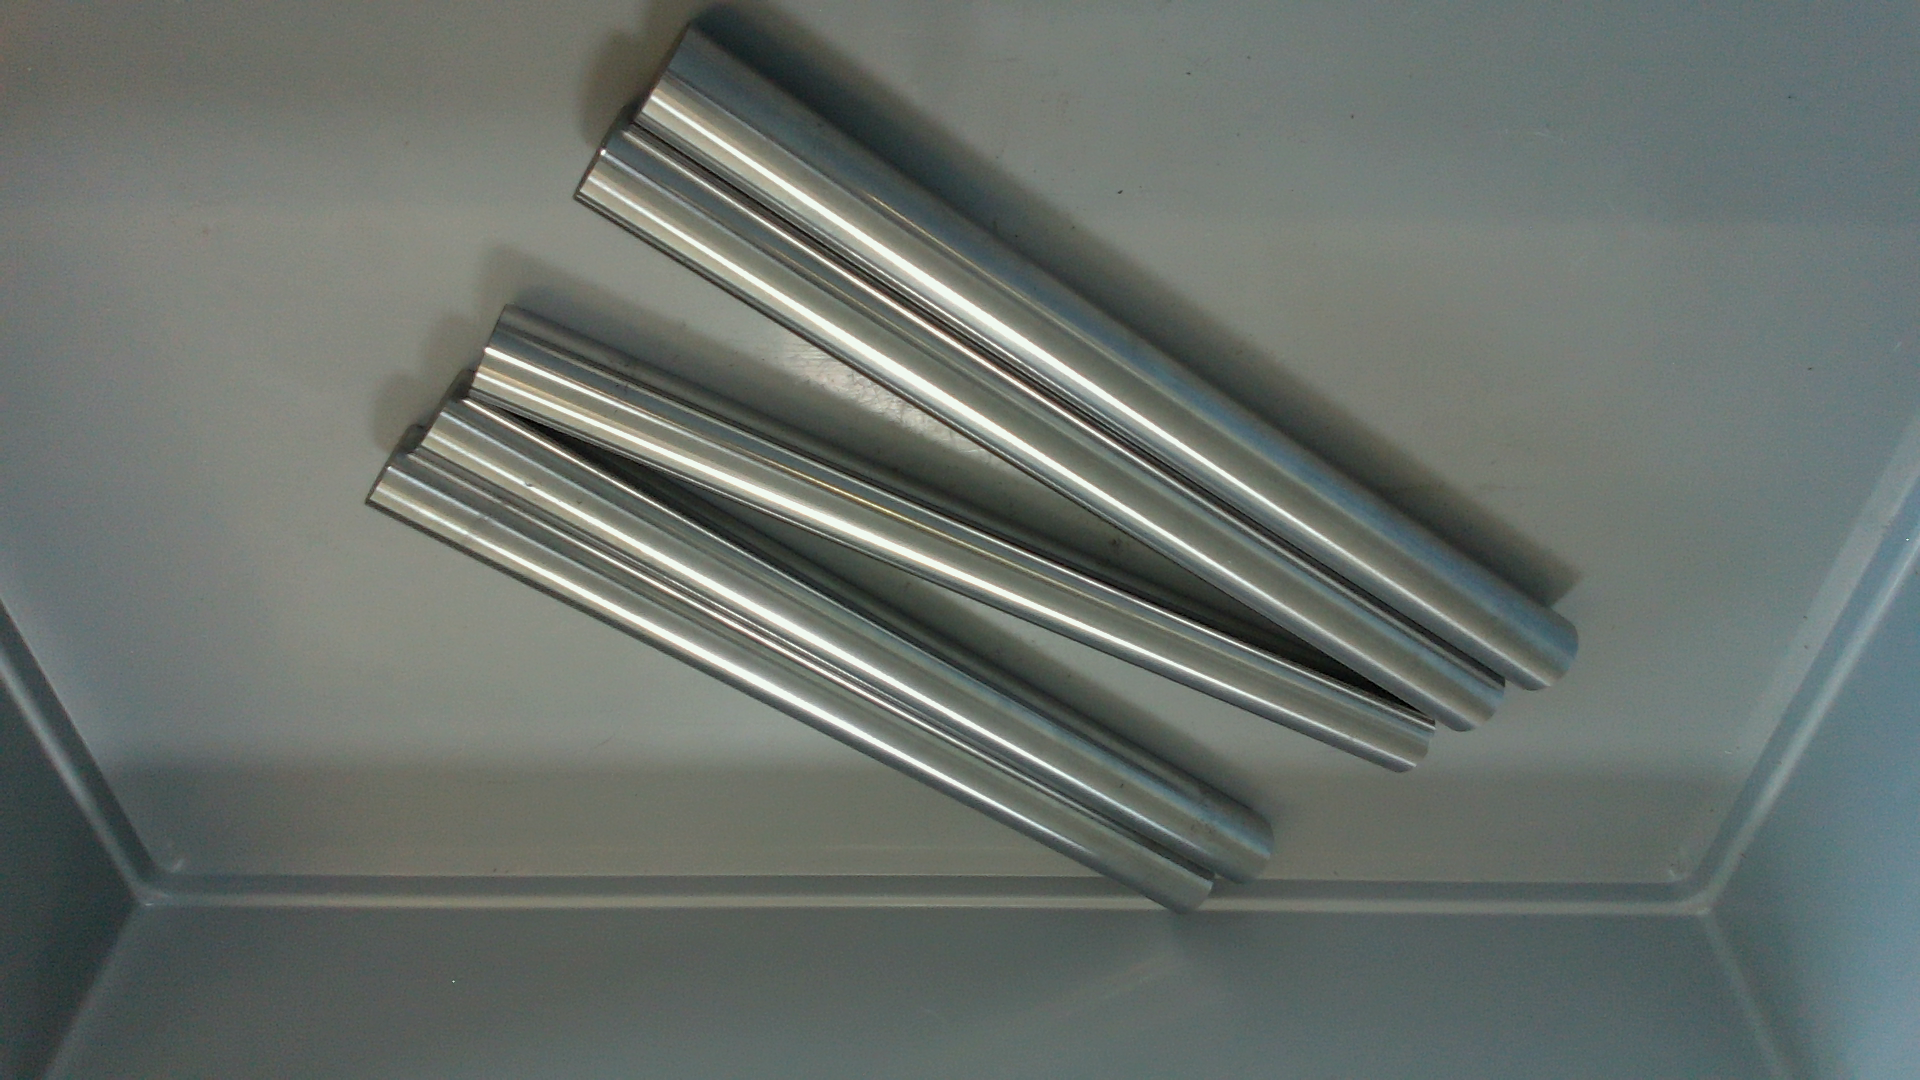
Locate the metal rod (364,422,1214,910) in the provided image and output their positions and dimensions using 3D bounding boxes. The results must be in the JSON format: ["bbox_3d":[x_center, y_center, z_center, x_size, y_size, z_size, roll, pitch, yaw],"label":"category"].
[{"bbox_3d":[-0.036,0.050,0.431,0.301,0.025,0.025,31,124,-24],"label":"metal rod"}]

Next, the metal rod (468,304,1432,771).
[{"bbox_3d":[0.012,0.007,0.395,0.301,0.025,0.025,23,126,-18],"label":"metal rod"}]

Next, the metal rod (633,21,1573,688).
[{"bbox_3d":[0.055,-0.035,0.360,0.301,0.025,0.025,30,124,-23],"label":"metal rod"}]

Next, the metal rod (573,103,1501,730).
[{"bbox_3d":[0.038,-0.021,0.372,0.301,0.025,0.025,30,124,-23],"label":"metal rod"}]

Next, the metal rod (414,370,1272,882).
[{"bbox_3d":[-0.018,0.037,0.420,0.301,0.025,0.025,31,124,-24],"label":"metal rod"}]
